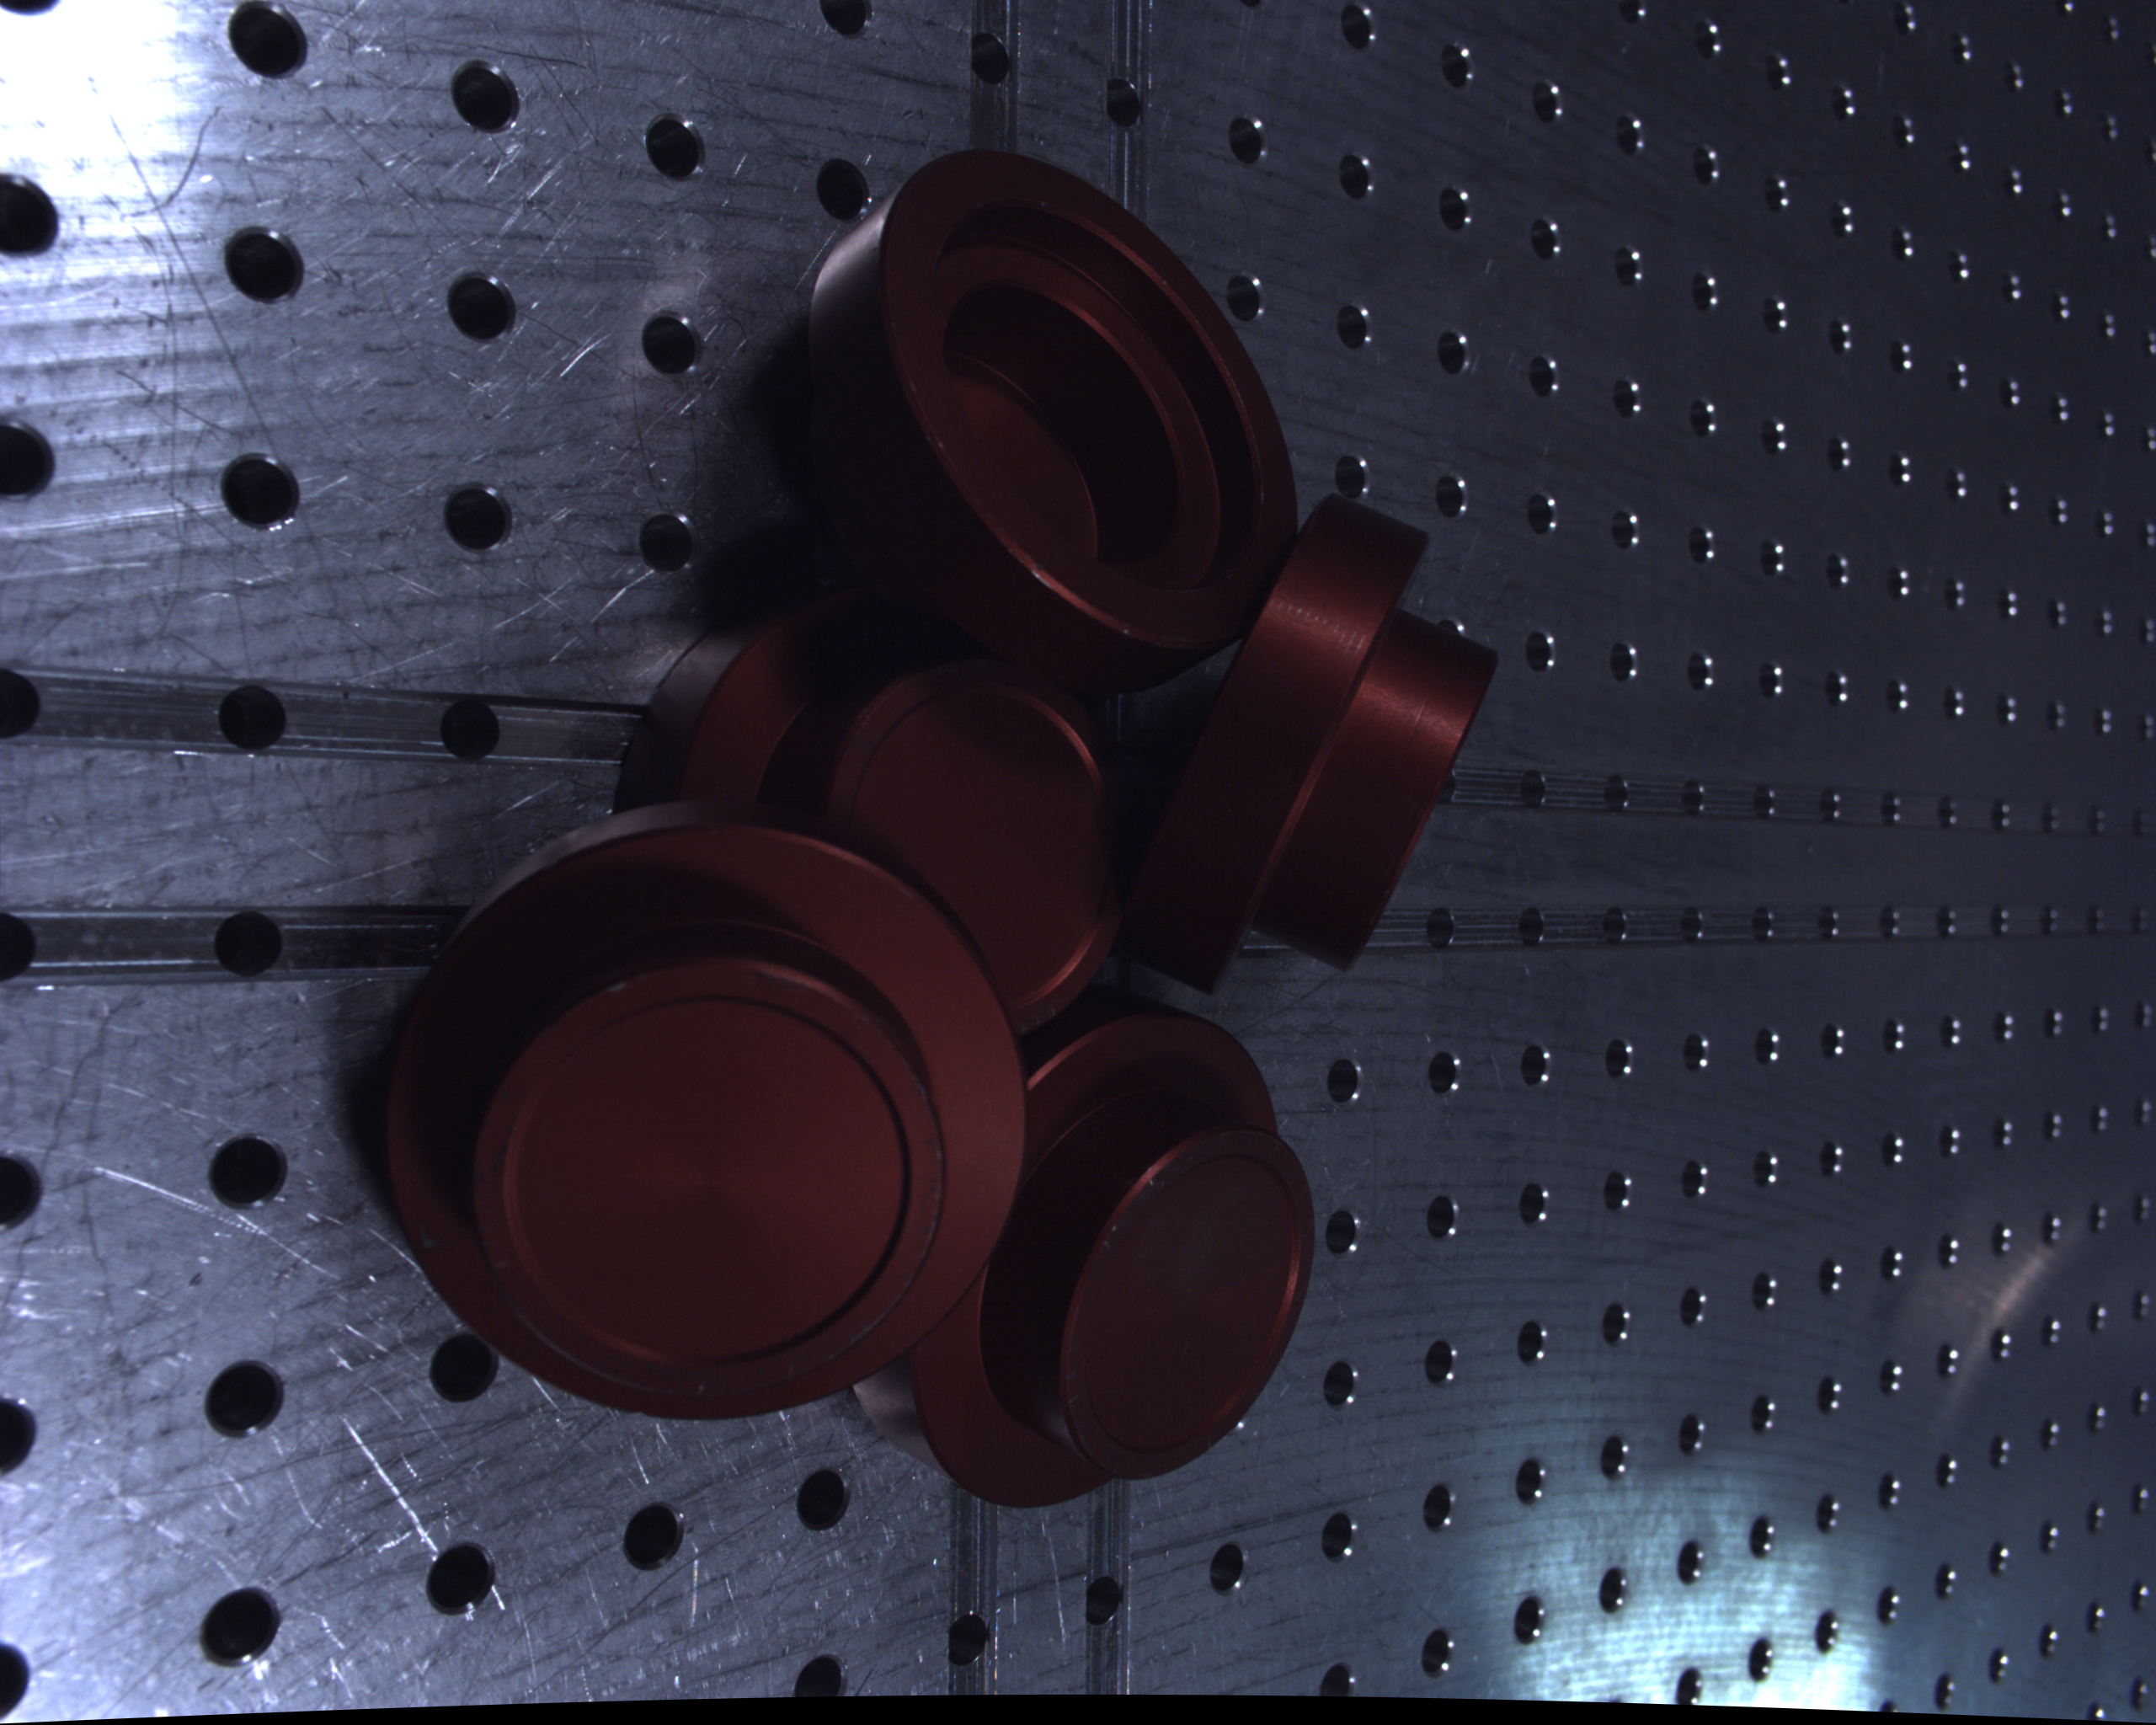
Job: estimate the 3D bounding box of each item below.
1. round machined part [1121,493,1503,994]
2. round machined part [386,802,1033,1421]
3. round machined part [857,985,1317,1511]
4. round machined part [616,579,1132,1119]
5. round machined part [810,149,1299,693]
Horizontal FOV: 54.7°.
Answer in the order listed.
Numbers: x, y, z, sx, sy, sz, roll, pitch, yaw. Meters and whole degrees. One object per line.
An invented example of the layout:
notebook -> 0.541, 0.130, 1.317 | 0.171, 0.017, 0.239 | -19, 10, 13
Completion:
round machined part -> 0.048, -0.018, 0.402 | 0.042, 0.098, 0.098 | 25, 69, 6
round machined part -> -0.056, 0.042, 0.322 | 0.099, 0.042, 0.097 | -2, 103, -10
round machined part -> 0.007, 0.075, 0.390 | 0.099, 0.042, 0.097 | -16, 113, -43
round machined part -> -0.029, -0.003, 0.374 | 0.099, 0.042, 0.097 | 0, 90, -40
round machined part -> -0.009, -0.075, 0.378 | 0.099, 0.042, 0.098 | 23, 54, -36
